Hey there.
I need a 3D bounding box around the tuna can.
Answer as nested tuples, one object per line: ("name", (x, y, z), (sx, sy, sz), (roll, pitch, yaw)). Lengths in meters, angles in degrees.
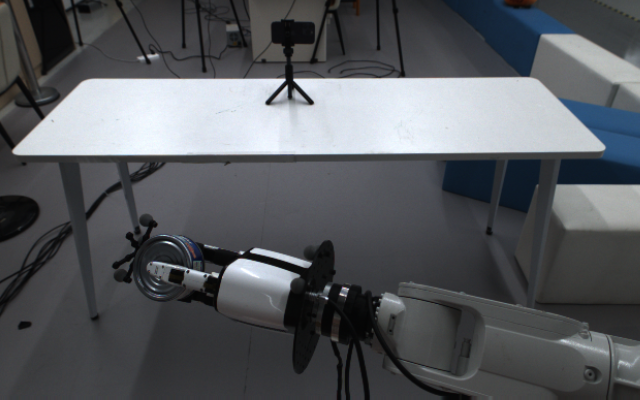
("tuna can", (-0.192, 0.086, 0.618), (0.085, 0.085, 0.034), (12, -3, 14))
